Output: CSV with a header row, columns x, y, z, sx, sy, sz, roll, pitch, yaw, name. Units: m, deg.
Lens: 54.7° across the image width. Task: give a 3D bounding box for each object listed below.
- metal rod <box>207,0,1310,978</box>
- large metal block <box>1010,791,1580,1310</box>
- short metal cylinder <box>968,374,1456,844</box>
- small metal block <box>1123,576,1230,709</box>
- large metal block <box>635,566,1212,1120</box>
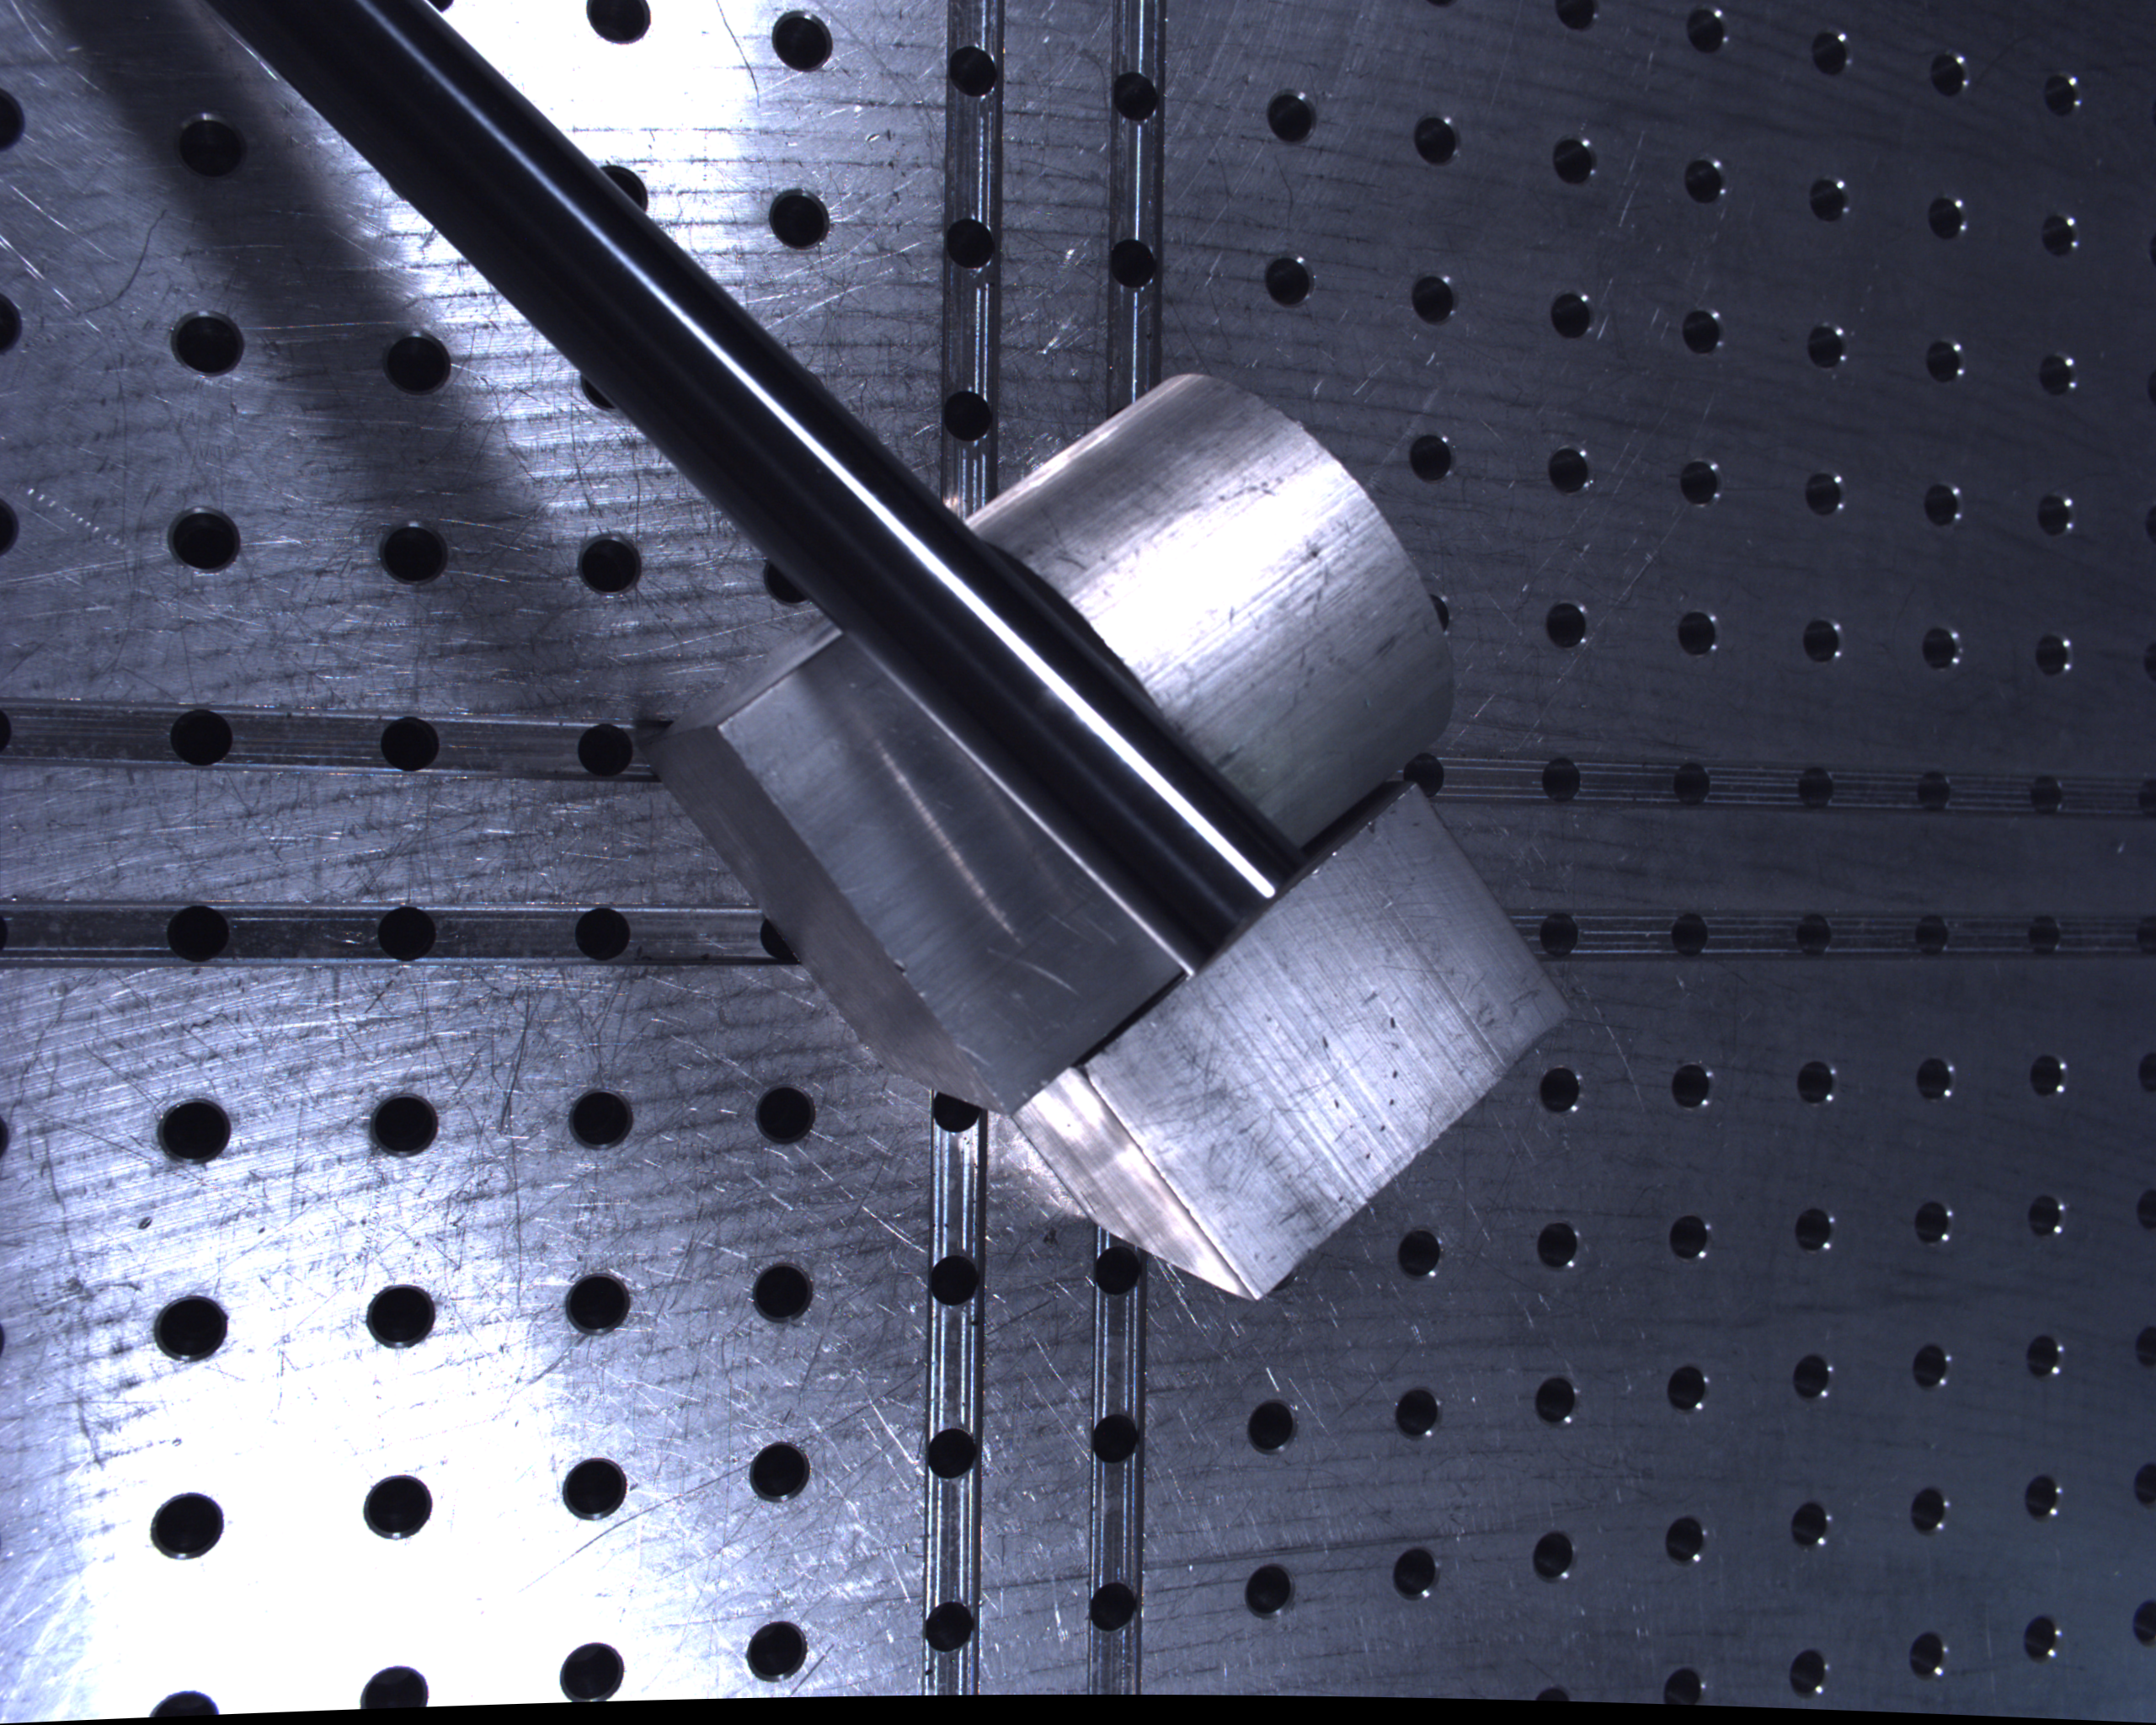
x,y,z,sx,sy,sz,roll,pitch,yaw,name
-0.080,-0.096,0.328,0.300,0.025,0.025,45,75,7,metal rod
0.032,0.031,0.394,0.080,0.080,0.050,-39,103,-16,large metal block
0.019,-0.037,0.364,0.050,0.080,0.080,-39,103,-16,short metal cylinder
0.015,-0.049,0.420,0.050,0.025,0.050,-43,104,-15,small metal block
-0.029,-0.005,0.374,0.050,0.080,0.080,-40,103,-16,large metal block
